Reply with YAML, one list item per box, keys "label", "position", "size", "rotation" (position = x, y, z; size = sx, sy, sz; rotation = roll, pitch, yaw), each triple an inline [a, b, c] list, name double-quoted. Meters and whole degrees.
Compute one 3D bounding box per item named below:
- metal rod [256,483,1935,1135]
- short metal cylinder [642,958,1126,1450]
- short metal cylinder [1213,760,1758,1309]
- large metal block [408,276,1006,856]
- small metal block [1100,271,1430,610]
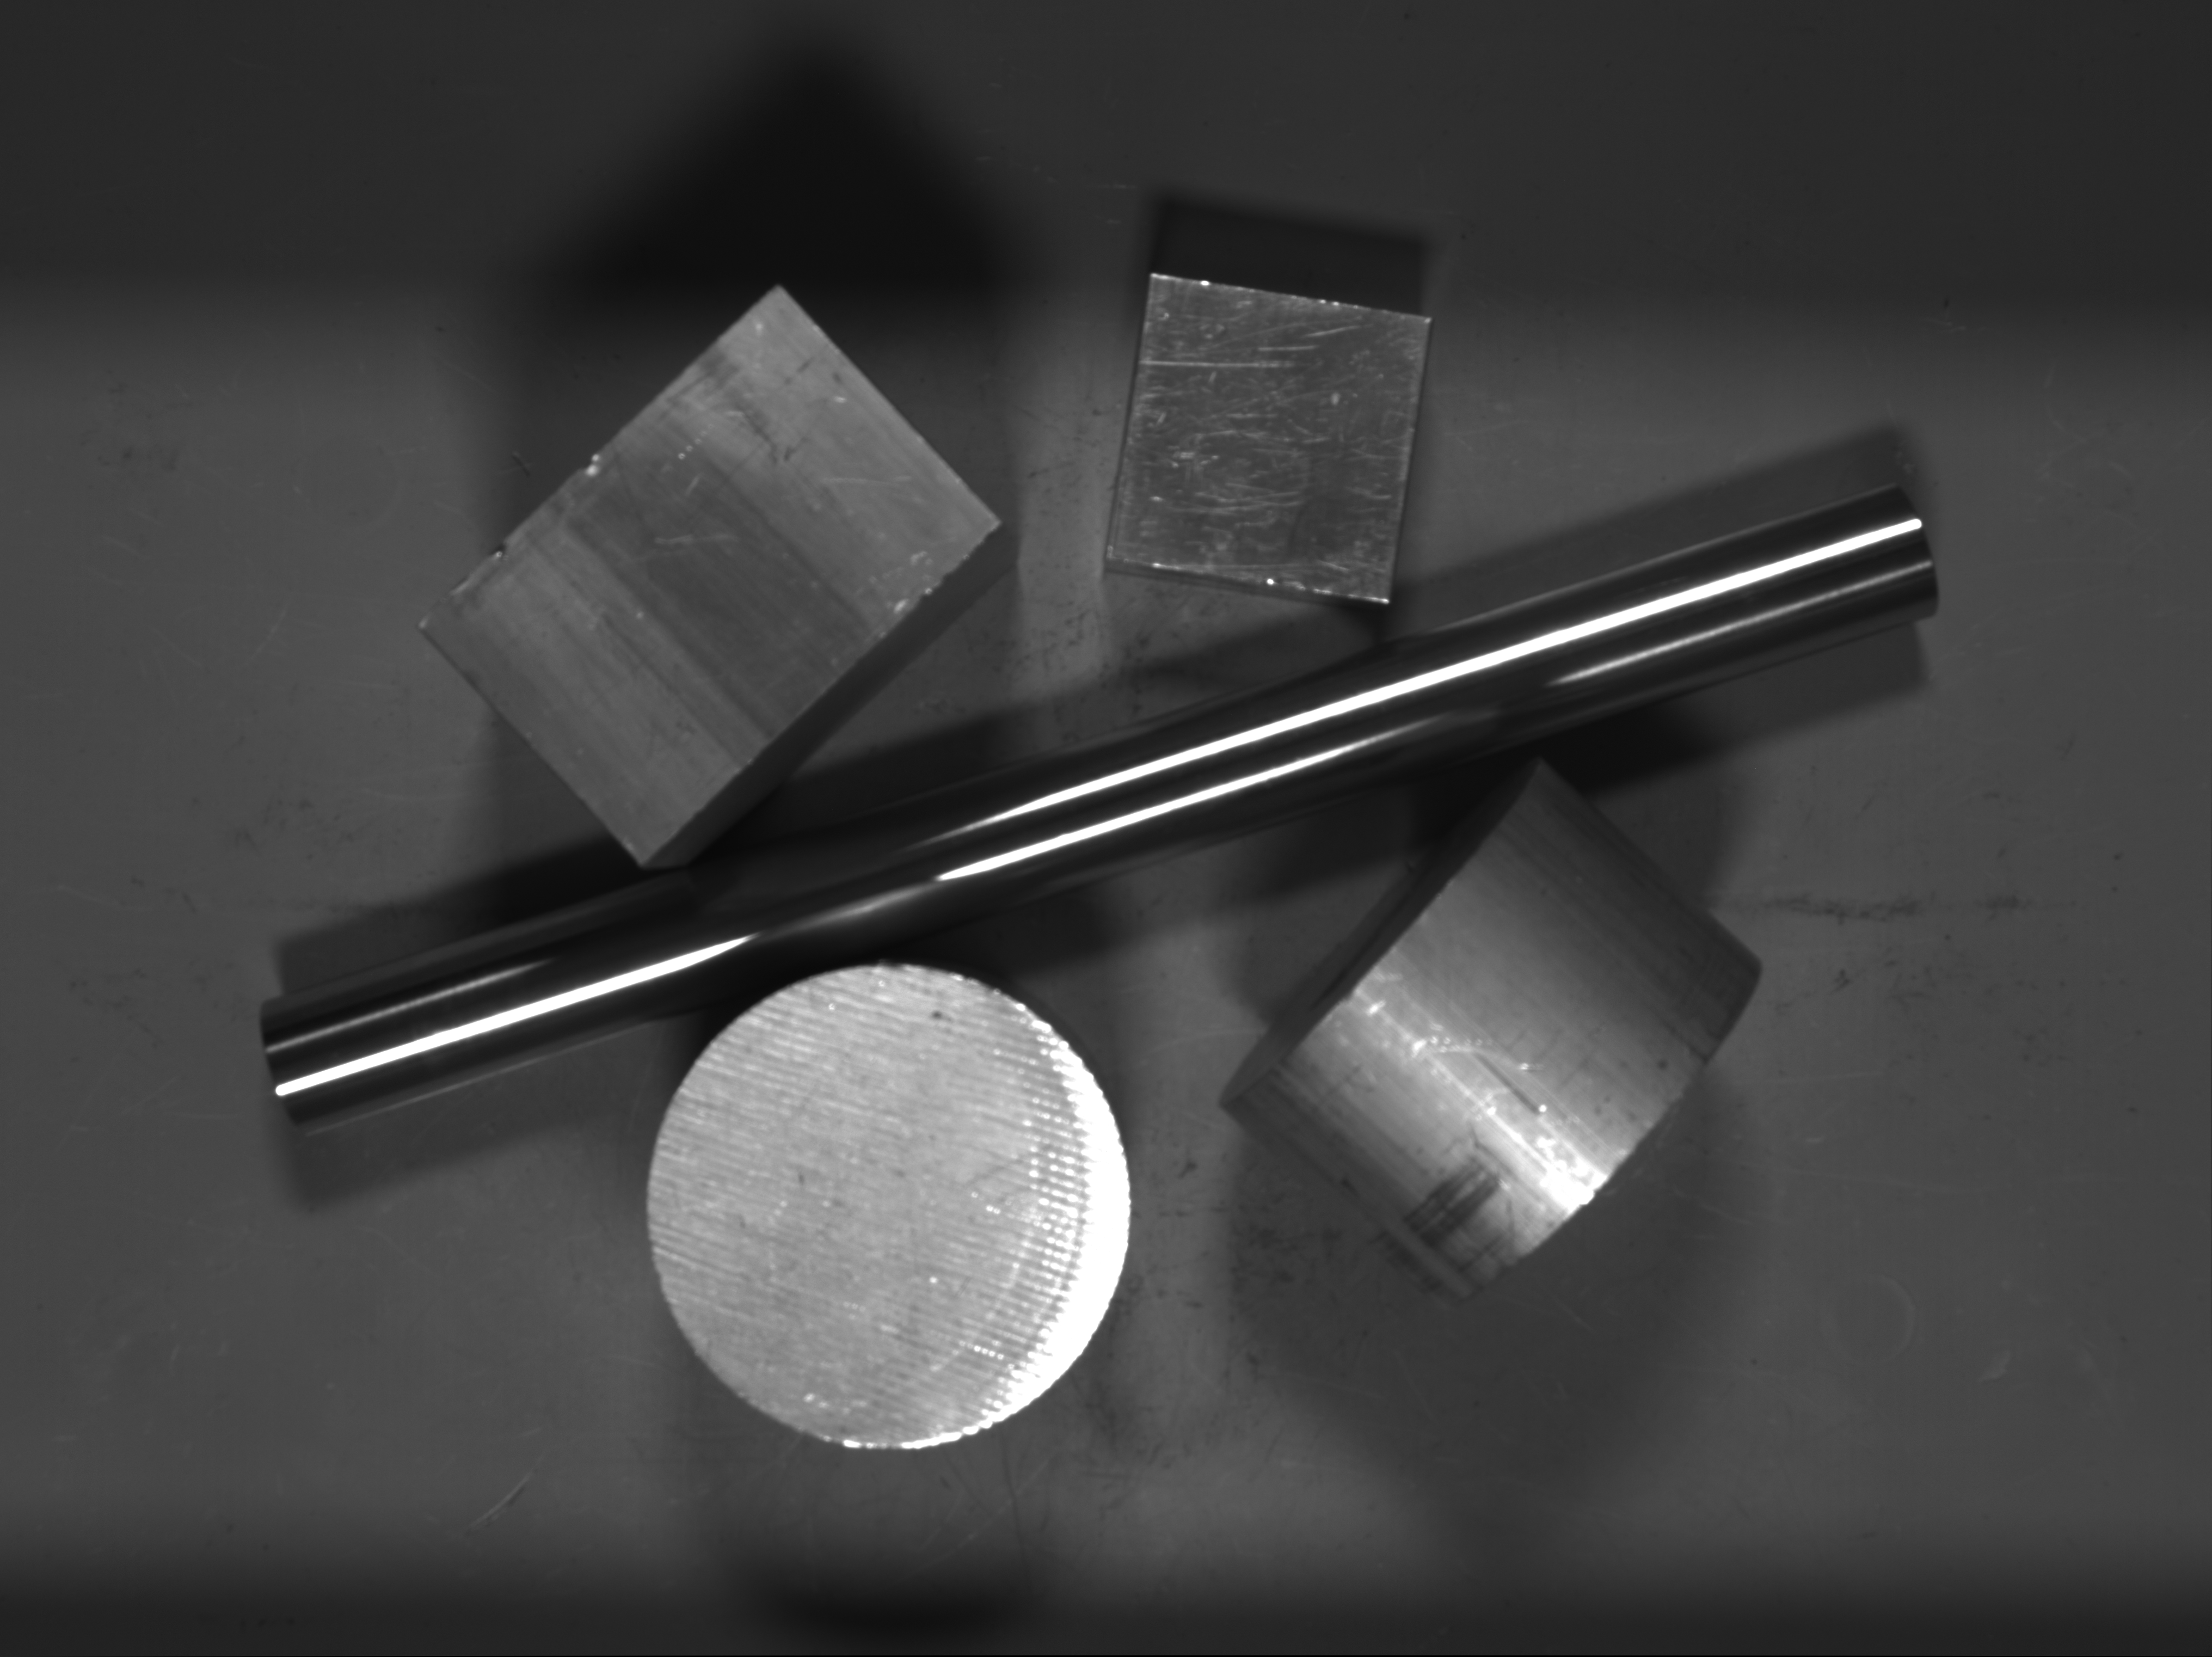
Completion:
- label: "metal rod"
  position: [-0.002, -0.004, 0.644]
  size: [0.300, 0.025, 0.025]
  rotation: [-18, 90, -1]
- label: "short metal cylinder"
  position: [-0.037, 0.063, 0.631]
  size: [0.080, 0.050, 0.080]
  rotation: [0, 90, 0]
- label: "short metal cylinder"
  position: [0.064, 0.034, 0.617]
  size: [0.050, 0.080, 0.080]
  rotation: [43, 90, 0]
- label: "large metal block"
  position: [-0.064, -0.041, 0.617]
  size: [0.080, 0.080, 0.050]
  rotation: [-43, 90, 0]
- label: "small metal block"
  position: [0.027, -0.068, 0.644]
  size: [0.050, 0.025, 0.050]
  rotation: [9, 90, 0]
